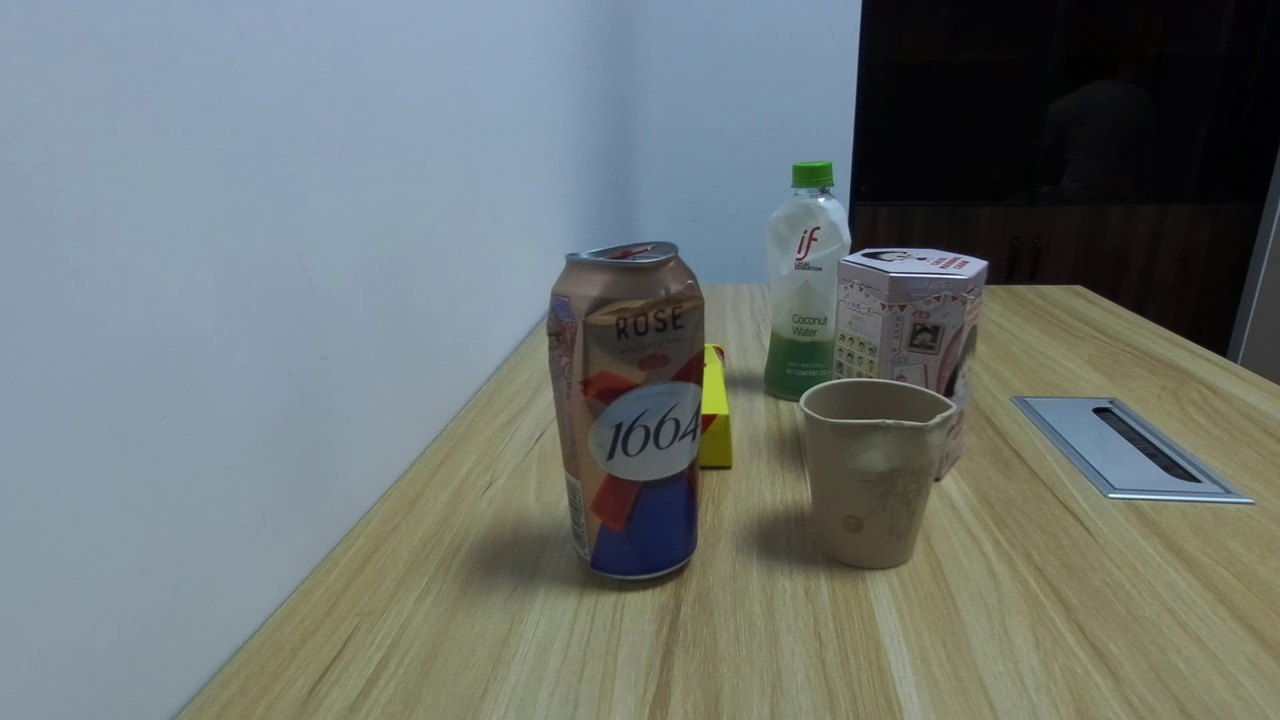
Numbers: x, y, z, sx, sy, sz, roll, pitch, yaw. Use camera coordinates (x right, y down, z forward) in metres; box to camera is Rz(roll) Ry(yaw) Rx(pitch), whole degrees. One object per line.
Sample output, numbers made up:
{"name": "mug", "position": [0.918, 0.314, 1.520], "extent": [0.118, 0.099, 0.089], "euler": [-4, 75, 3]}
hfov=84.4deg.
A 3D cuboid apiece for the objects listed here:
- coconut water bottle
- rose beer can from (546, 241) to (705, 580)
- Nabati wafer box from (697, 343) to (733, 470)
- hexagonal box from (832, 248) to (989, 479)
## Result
{"name": "coconut water bottle", "position": [0.134, -0.062, 0.569], "extent": [0.067, 0.187, 0.067], "euler": [-1, 16, 1]}
{"name": "rose beer can", "position": [-0.004, 0.027, 0.360], "extent": [0.076, 0.167, 0.065], "euler": [-10, 18, -15]}
{"name": "Nabati wafer box", "position": [0.020, 0.022, 0.559], "extent": [0.096, 0.042, 0.203], "euler": [1, 19, 5]}
{"name": "hexagonal box", "position": [0.172, 0.000, 0.462], "extent": [0.083, 0.136, 0.091], "euler": [12, 24, 32]}
